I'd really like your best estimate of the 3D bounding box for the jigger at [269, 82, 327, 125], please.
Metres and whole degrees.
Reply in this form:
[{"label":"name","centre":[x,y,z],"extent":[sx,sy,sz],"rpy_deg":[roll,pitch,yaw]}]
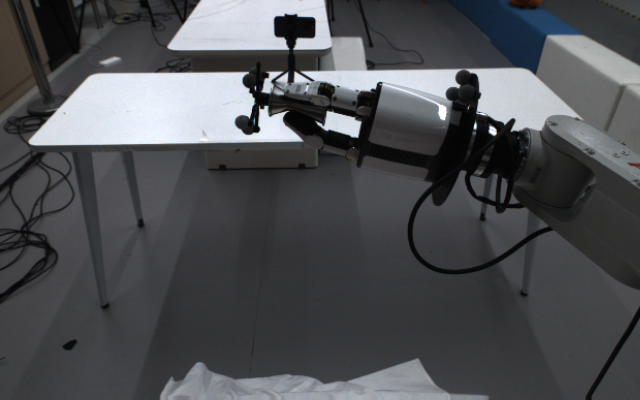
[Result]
[{"label":"jigger","centre":[-0.019,-0.119,0.587],"extent":[0.071,0.043,0.043],"rpy_deg":[8,35,1]}]
